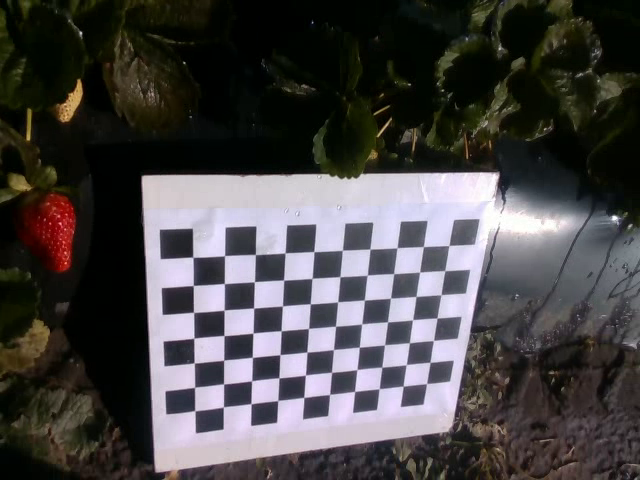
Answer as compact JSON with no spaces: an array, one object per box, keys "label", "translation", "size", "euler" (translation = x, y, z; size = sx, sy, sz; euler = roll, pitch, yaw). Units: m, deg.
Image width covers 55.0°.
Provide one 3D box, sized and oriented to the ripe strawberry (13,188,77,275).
[{"label":"ripe strawberry","translation":[-0.189,-0.004,0.427],"size":[0.048,0.069,0.040],"euler":[-19,20,-7]}]
